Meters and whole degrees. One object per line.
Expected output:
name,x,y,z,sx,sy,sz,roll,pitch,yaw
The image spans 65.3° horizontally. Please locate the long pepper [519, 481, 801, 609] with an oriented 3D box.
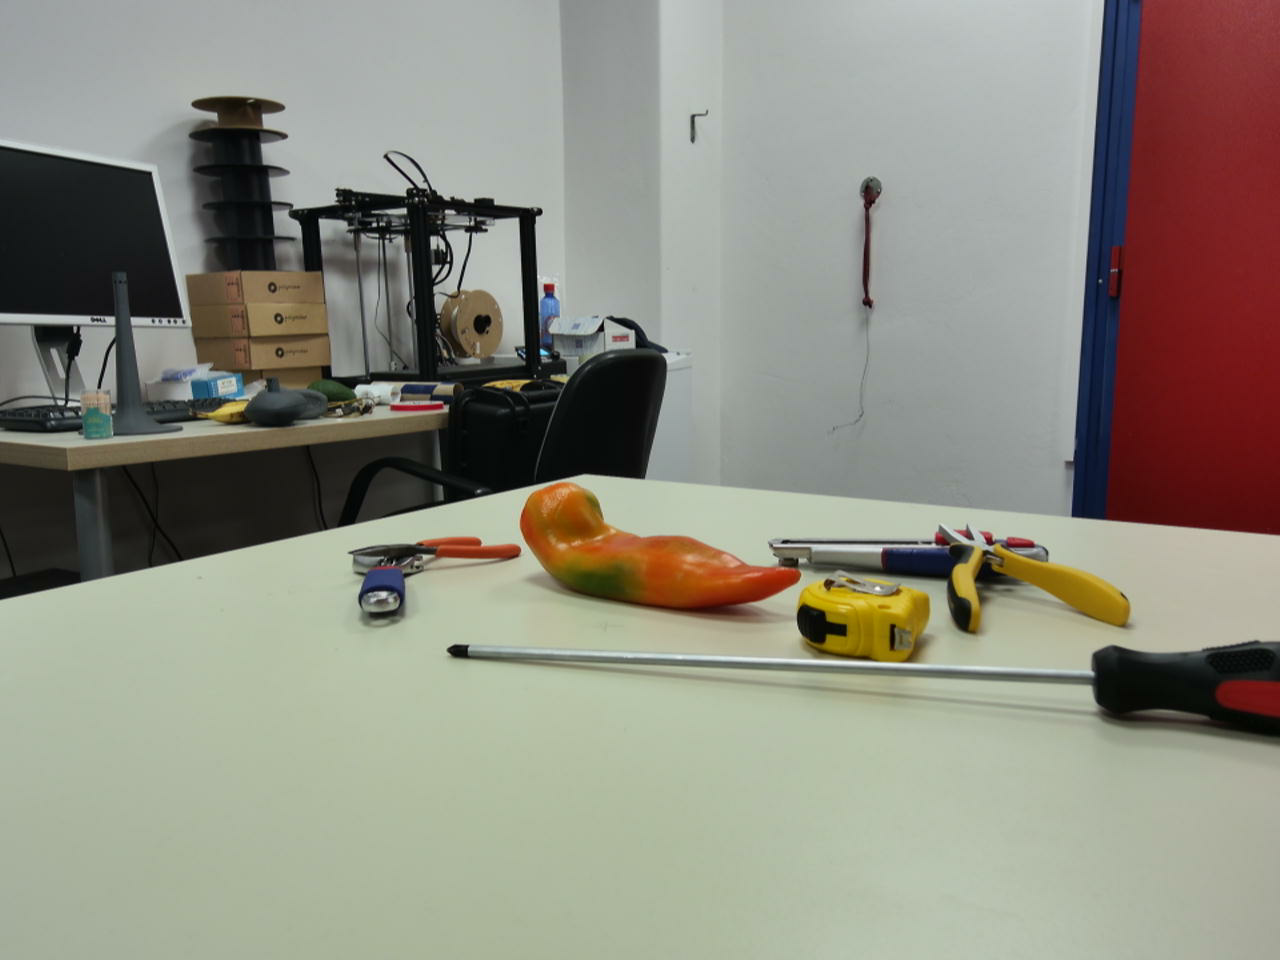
long pepper,0.005,0.040,0.611,0.199,0.065,0.066,7,9,40
